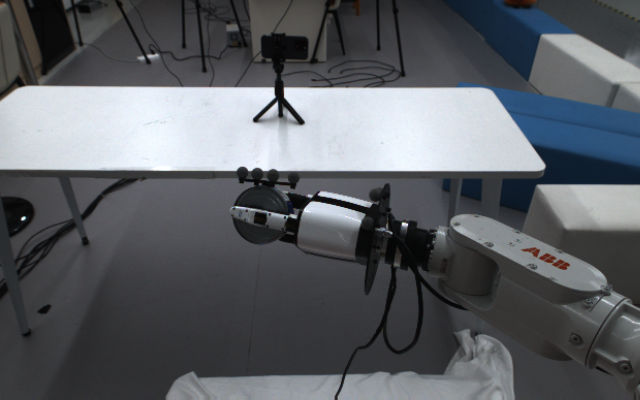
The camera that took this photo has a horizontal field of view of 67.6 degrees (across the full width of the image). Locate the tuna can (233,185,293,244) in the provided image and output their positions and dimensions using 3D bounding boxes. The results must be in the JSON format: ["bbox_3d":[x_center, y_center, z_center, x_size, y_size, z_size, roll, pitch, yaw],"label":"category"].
[{"bbox_3d":[-0.082,0.021,0.709,0.085,0.085,0.034,12,2,14],"label":"tuna can"}]
